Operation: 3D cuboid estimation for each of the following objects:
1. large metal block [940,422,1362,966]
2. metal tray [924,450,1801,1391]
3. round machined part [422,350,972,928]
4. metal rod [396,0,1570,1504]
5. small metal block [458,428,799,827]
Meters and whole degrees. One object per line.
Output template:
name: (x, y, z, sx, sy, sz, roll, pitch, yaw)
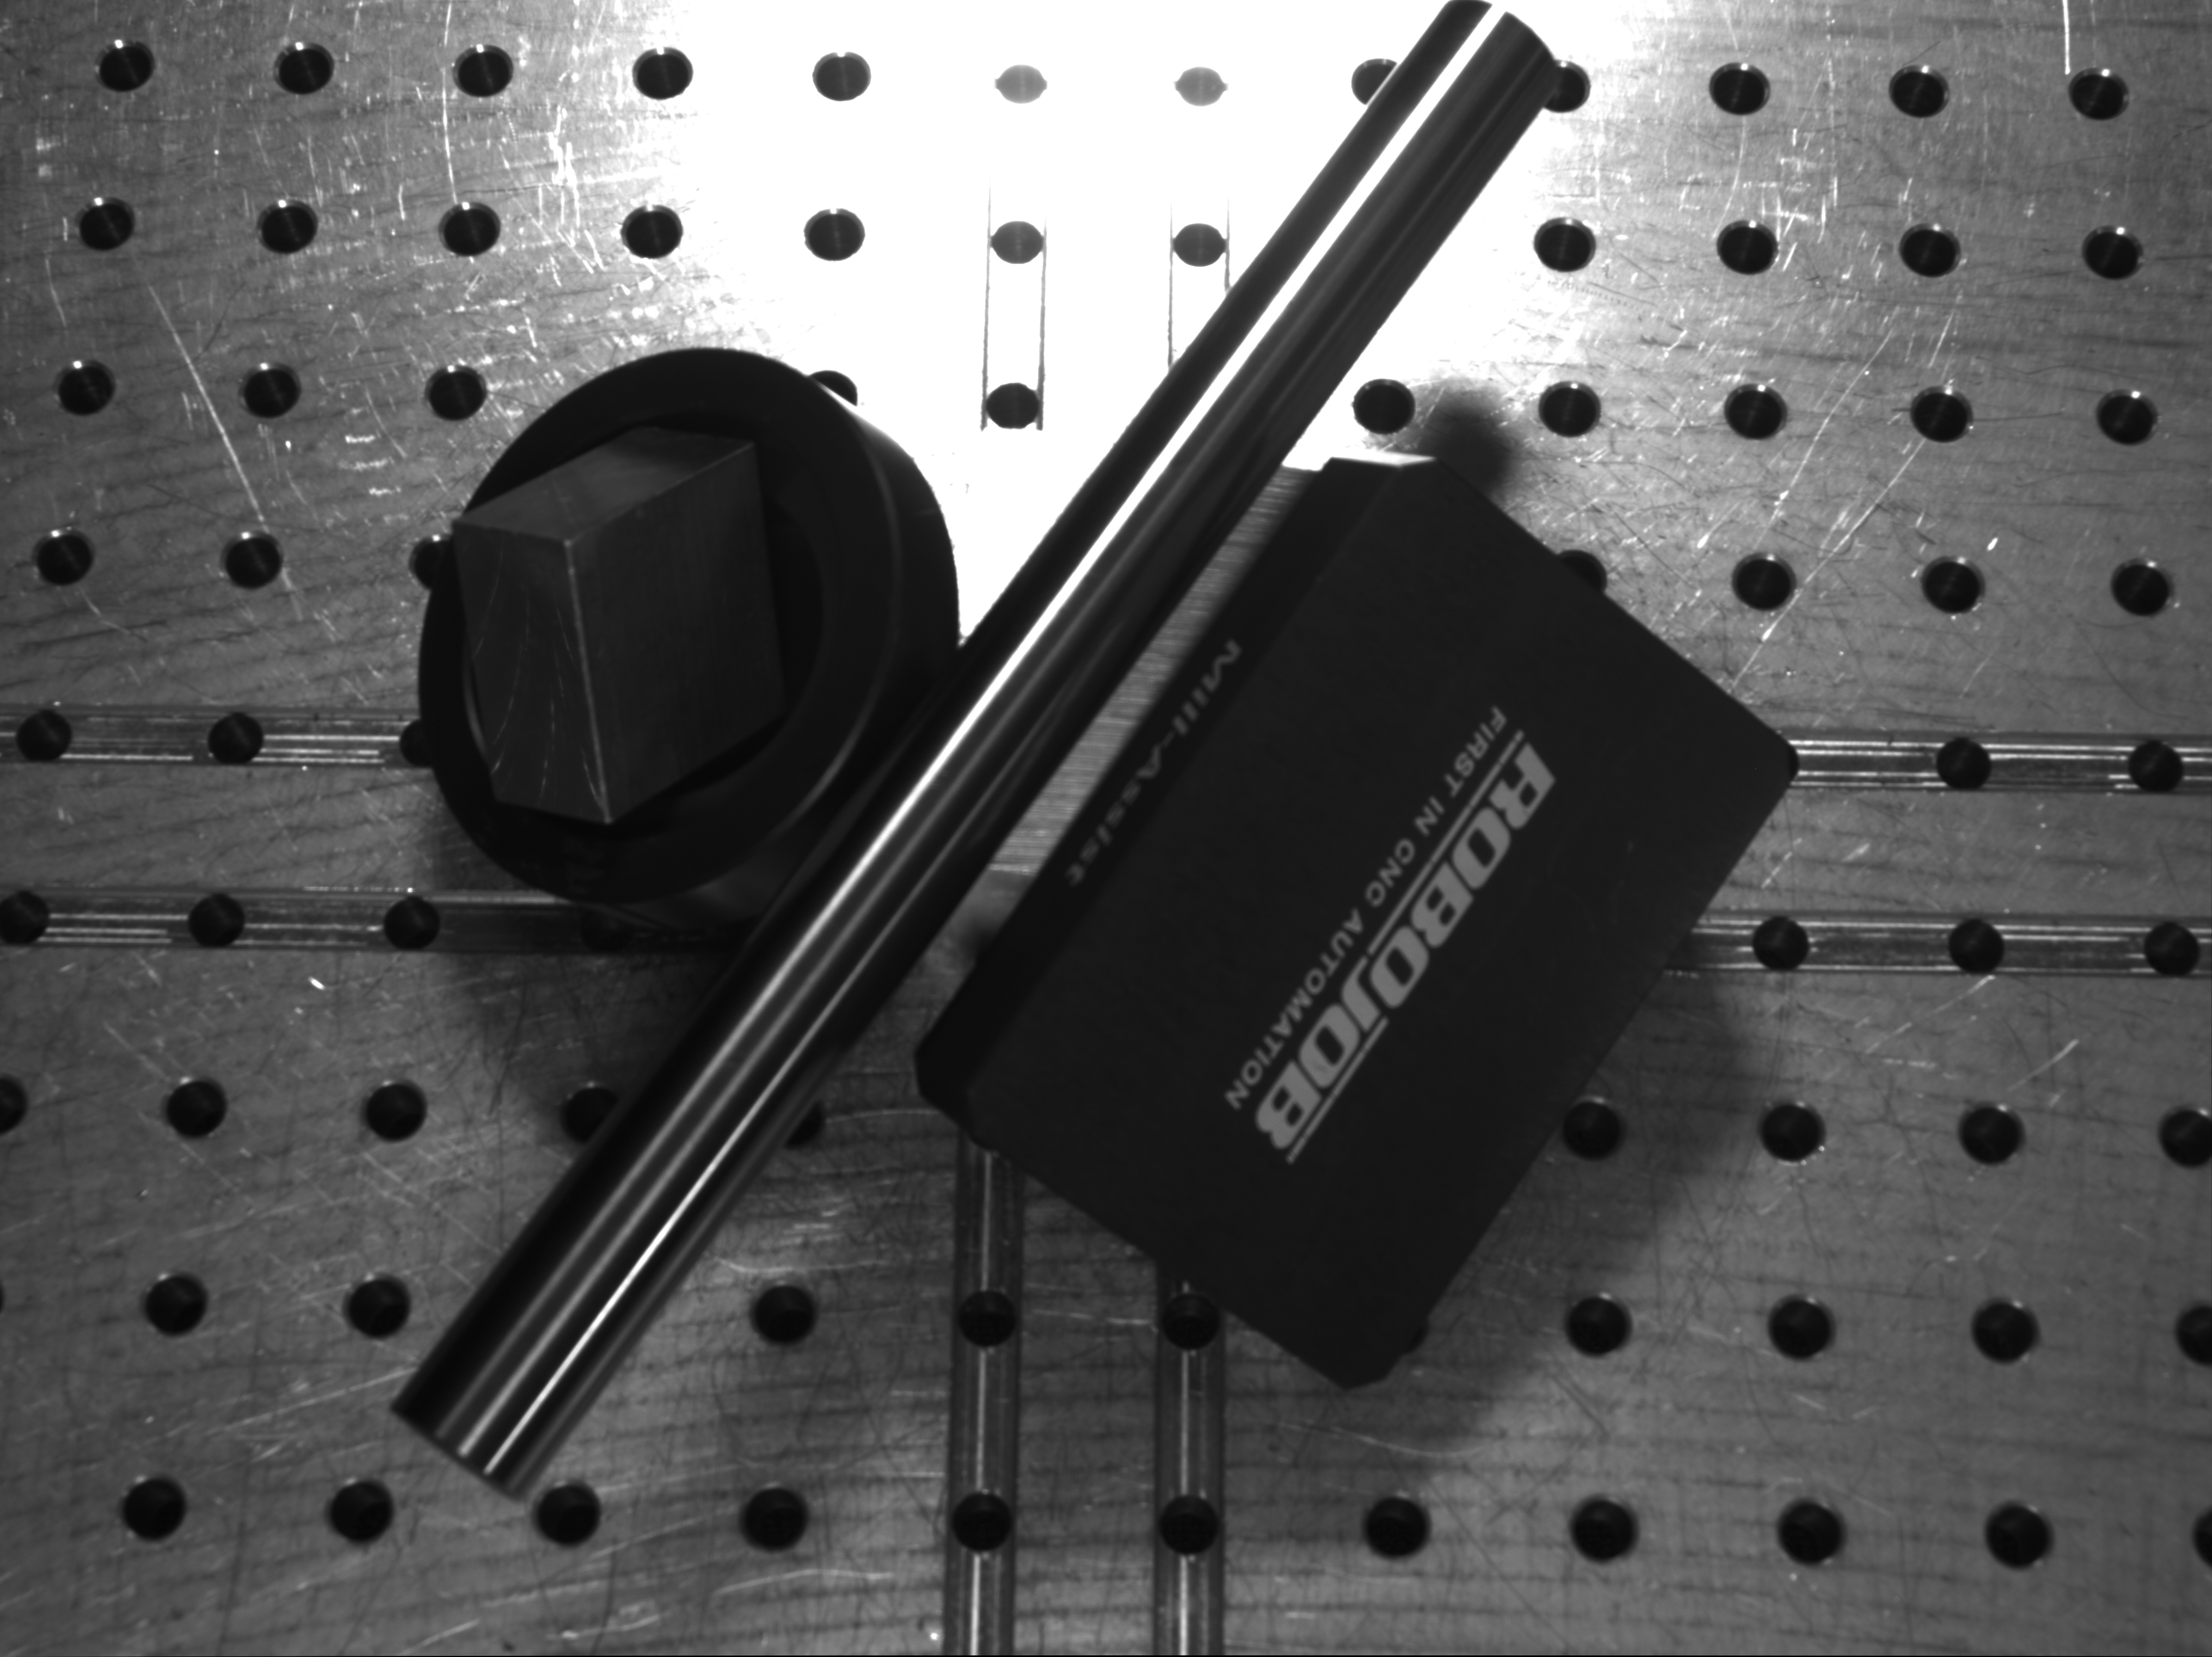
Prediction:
large metal block: (0.013, -0.019, 0.640, 0.080, 0.050, 0.080, 9, 70, 3)
metal tray: (0.043, 0.015, 0.603, 0.090, 0.030, 0.130, 36, 86, -20)
round machined part: (-0.066, -0.030, 0.635, 0.098, 0.042, 0.098, -8, 71, 24)
metal rod: (-0.014, -0.021, 0.601, 0.025, 0.025, 0.300, 33, 73, 11)
small metal block: (-0.079, -0.035, 0.617, 0.025, 0.050, 0.050, 12, 29, 31)
